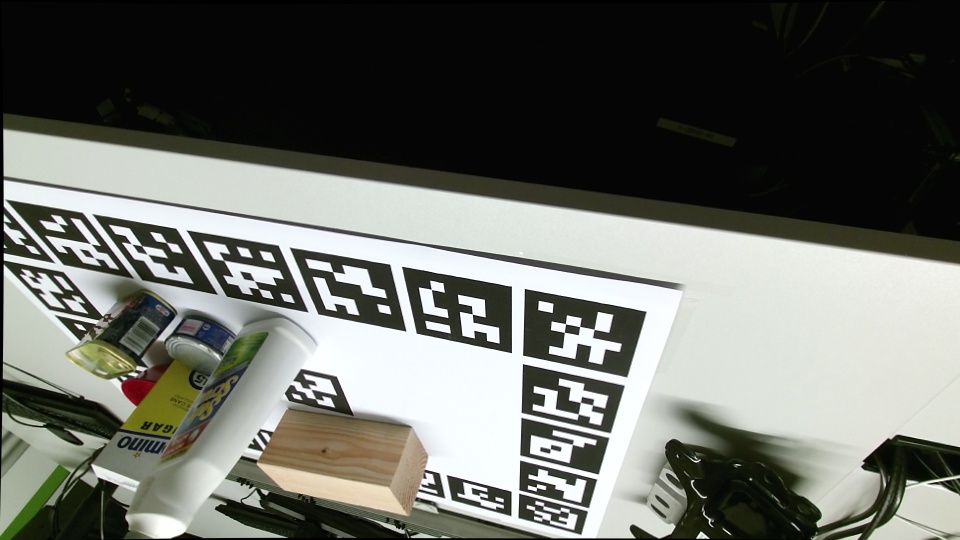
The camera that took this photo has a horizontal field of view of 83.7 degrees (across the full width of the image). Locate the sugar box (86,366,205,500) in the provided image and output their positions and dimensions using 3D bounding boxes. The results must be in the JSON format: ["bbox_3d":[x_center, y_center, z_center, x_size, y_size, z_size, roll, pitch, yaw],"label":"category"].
[{"bbox_3d":[-0.383,0.193,0.666,0.093,0.175,0.045,22,134,-7],"label":"sugar box"}]

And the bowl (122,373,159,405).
[{"bbox_3d":[-0.443,0.196,0.783,0.162,0.055,0.162,7,136,7],"label":"bowl"}]

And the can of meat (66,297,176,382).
[{"bbox_3d":[-0.433,0.085,0.653,0.102,0.083,0.058,-15,130,33],"label":"can of meat"}]

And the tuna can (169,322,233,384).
[{"bbox_3d":[-0.345,0.105,0.668,0.086,0.033,0.086,9,132,10],"label":"tuna can"}]

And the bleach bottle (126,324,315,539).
[{"bbox_3d":[-0.274,0.174,0.560,0.103,0.250,0.068,-11,129,28],"label":"bleach bottle"}]

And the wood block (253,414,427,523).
[{"bbox_3d":[-0.194,0.279,0.756,0.207,0.089,0.091,3,130,18],"label":"wood block"}]
